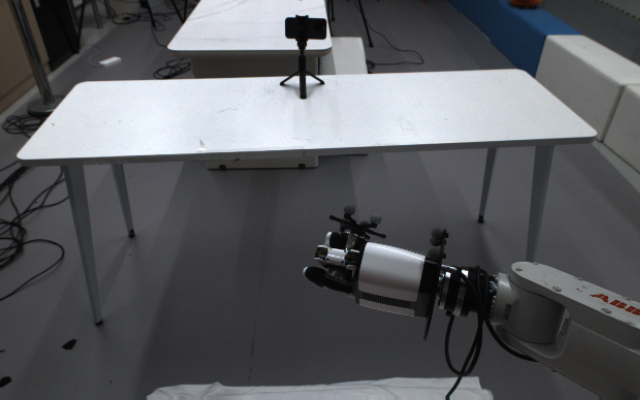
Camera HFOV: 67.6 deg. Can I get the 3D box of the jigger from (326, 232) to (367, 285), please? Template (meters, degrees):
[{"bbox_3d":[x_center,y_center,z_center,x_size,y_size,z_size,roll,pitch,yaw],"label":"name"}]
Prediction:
[{"bbox_3d":[0.040,0.084,0.704,0.043,0.043,0.071,15,71,18],"label":"jigger"}]
